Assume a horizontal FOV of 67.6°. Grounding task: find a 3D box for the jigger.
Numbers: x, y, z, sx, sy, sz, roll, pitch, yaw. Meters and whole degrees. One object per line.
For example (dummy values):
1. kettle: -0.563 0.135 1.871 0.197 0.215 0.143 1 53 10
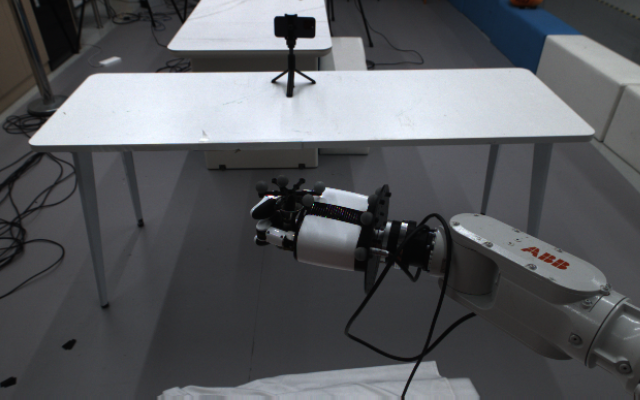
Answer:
1. jigger: -0.042 0.033 0.711 0.043 0.071 0.043 4 31 -2
